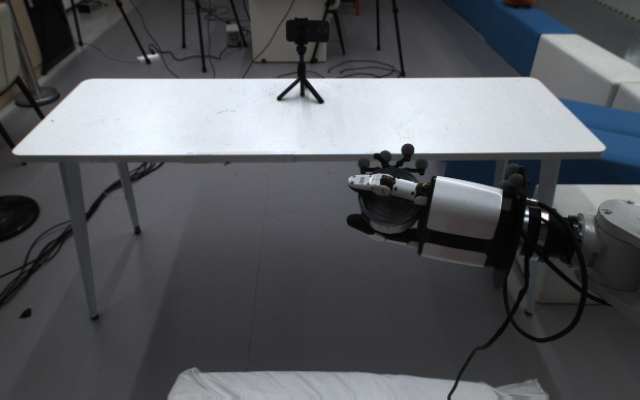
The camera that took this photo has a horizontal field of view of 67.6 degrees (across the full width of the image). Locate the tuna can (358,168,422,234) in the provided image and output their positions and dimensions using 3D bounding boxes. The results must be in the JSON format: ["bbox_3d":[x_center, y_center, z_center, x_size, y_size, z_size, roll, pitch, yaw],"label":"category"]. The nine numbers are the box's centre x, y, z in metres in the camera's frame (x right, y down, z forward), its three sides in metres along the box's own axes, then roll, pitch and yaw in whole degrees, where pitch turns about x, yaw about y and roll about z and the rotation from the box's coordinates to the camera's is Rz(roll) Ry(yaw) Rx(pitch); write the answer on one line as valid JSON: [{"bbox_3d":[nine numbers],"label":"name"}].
[{"bbox_3d":[0.095,-0.001,0.650,0.085,0.034,0.085,-4,61,7],"label":"tuna can"}]
